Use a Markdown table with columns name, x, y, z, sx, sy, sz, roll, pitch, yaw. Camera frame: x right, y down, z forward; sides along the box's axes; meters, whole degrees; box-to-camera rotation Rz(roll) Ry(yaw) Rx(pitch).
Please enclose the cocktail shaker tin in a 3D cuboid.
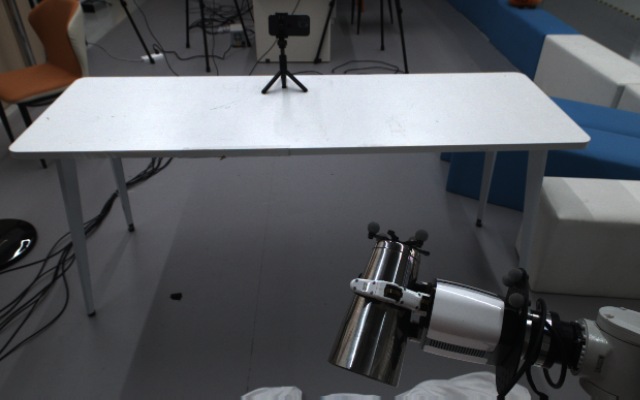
| name | x | y | z | sx | sy | sz | roll | pitch | yaw |
| --- | --- | --- | --- | --- | --- | --- | --- | --- | --- |
| cocktail shaker tin | 0.077 | 0.142 | 0.633 | 0.093 | 0.093 | 0.170 | 14 | 69 | 17 |
